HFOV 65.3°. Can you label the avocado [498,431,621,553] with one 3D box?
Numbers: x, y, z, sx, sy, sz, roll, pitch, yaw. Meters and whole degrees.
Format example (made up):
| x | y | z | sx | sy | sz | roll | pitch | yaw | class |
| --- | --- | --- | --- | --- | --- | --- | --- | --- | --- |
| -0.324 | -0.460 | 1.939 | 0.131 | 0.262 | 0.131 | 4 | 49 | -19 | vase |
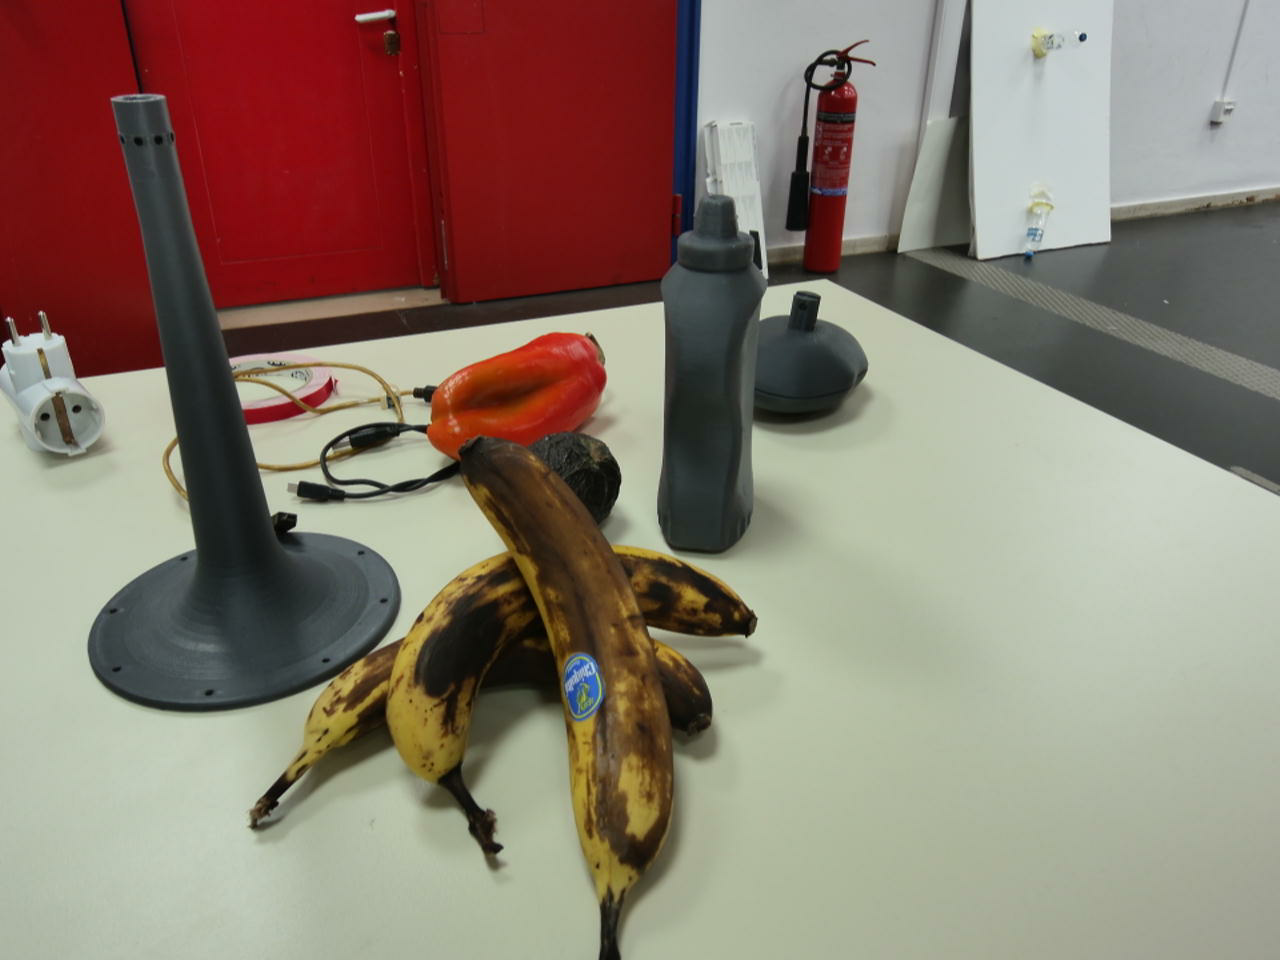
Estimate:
| x | y | z | sx | sy | sz | roll | pitch | yaw | class |
| --- | --- | --- | --- | --- | --- | --- | --- | --- | --- |
| -0.050 | 0.006 | 0.589 | 0.062 | 0.062 | 0.092 | 21 | 34 | 36 | avocado |
